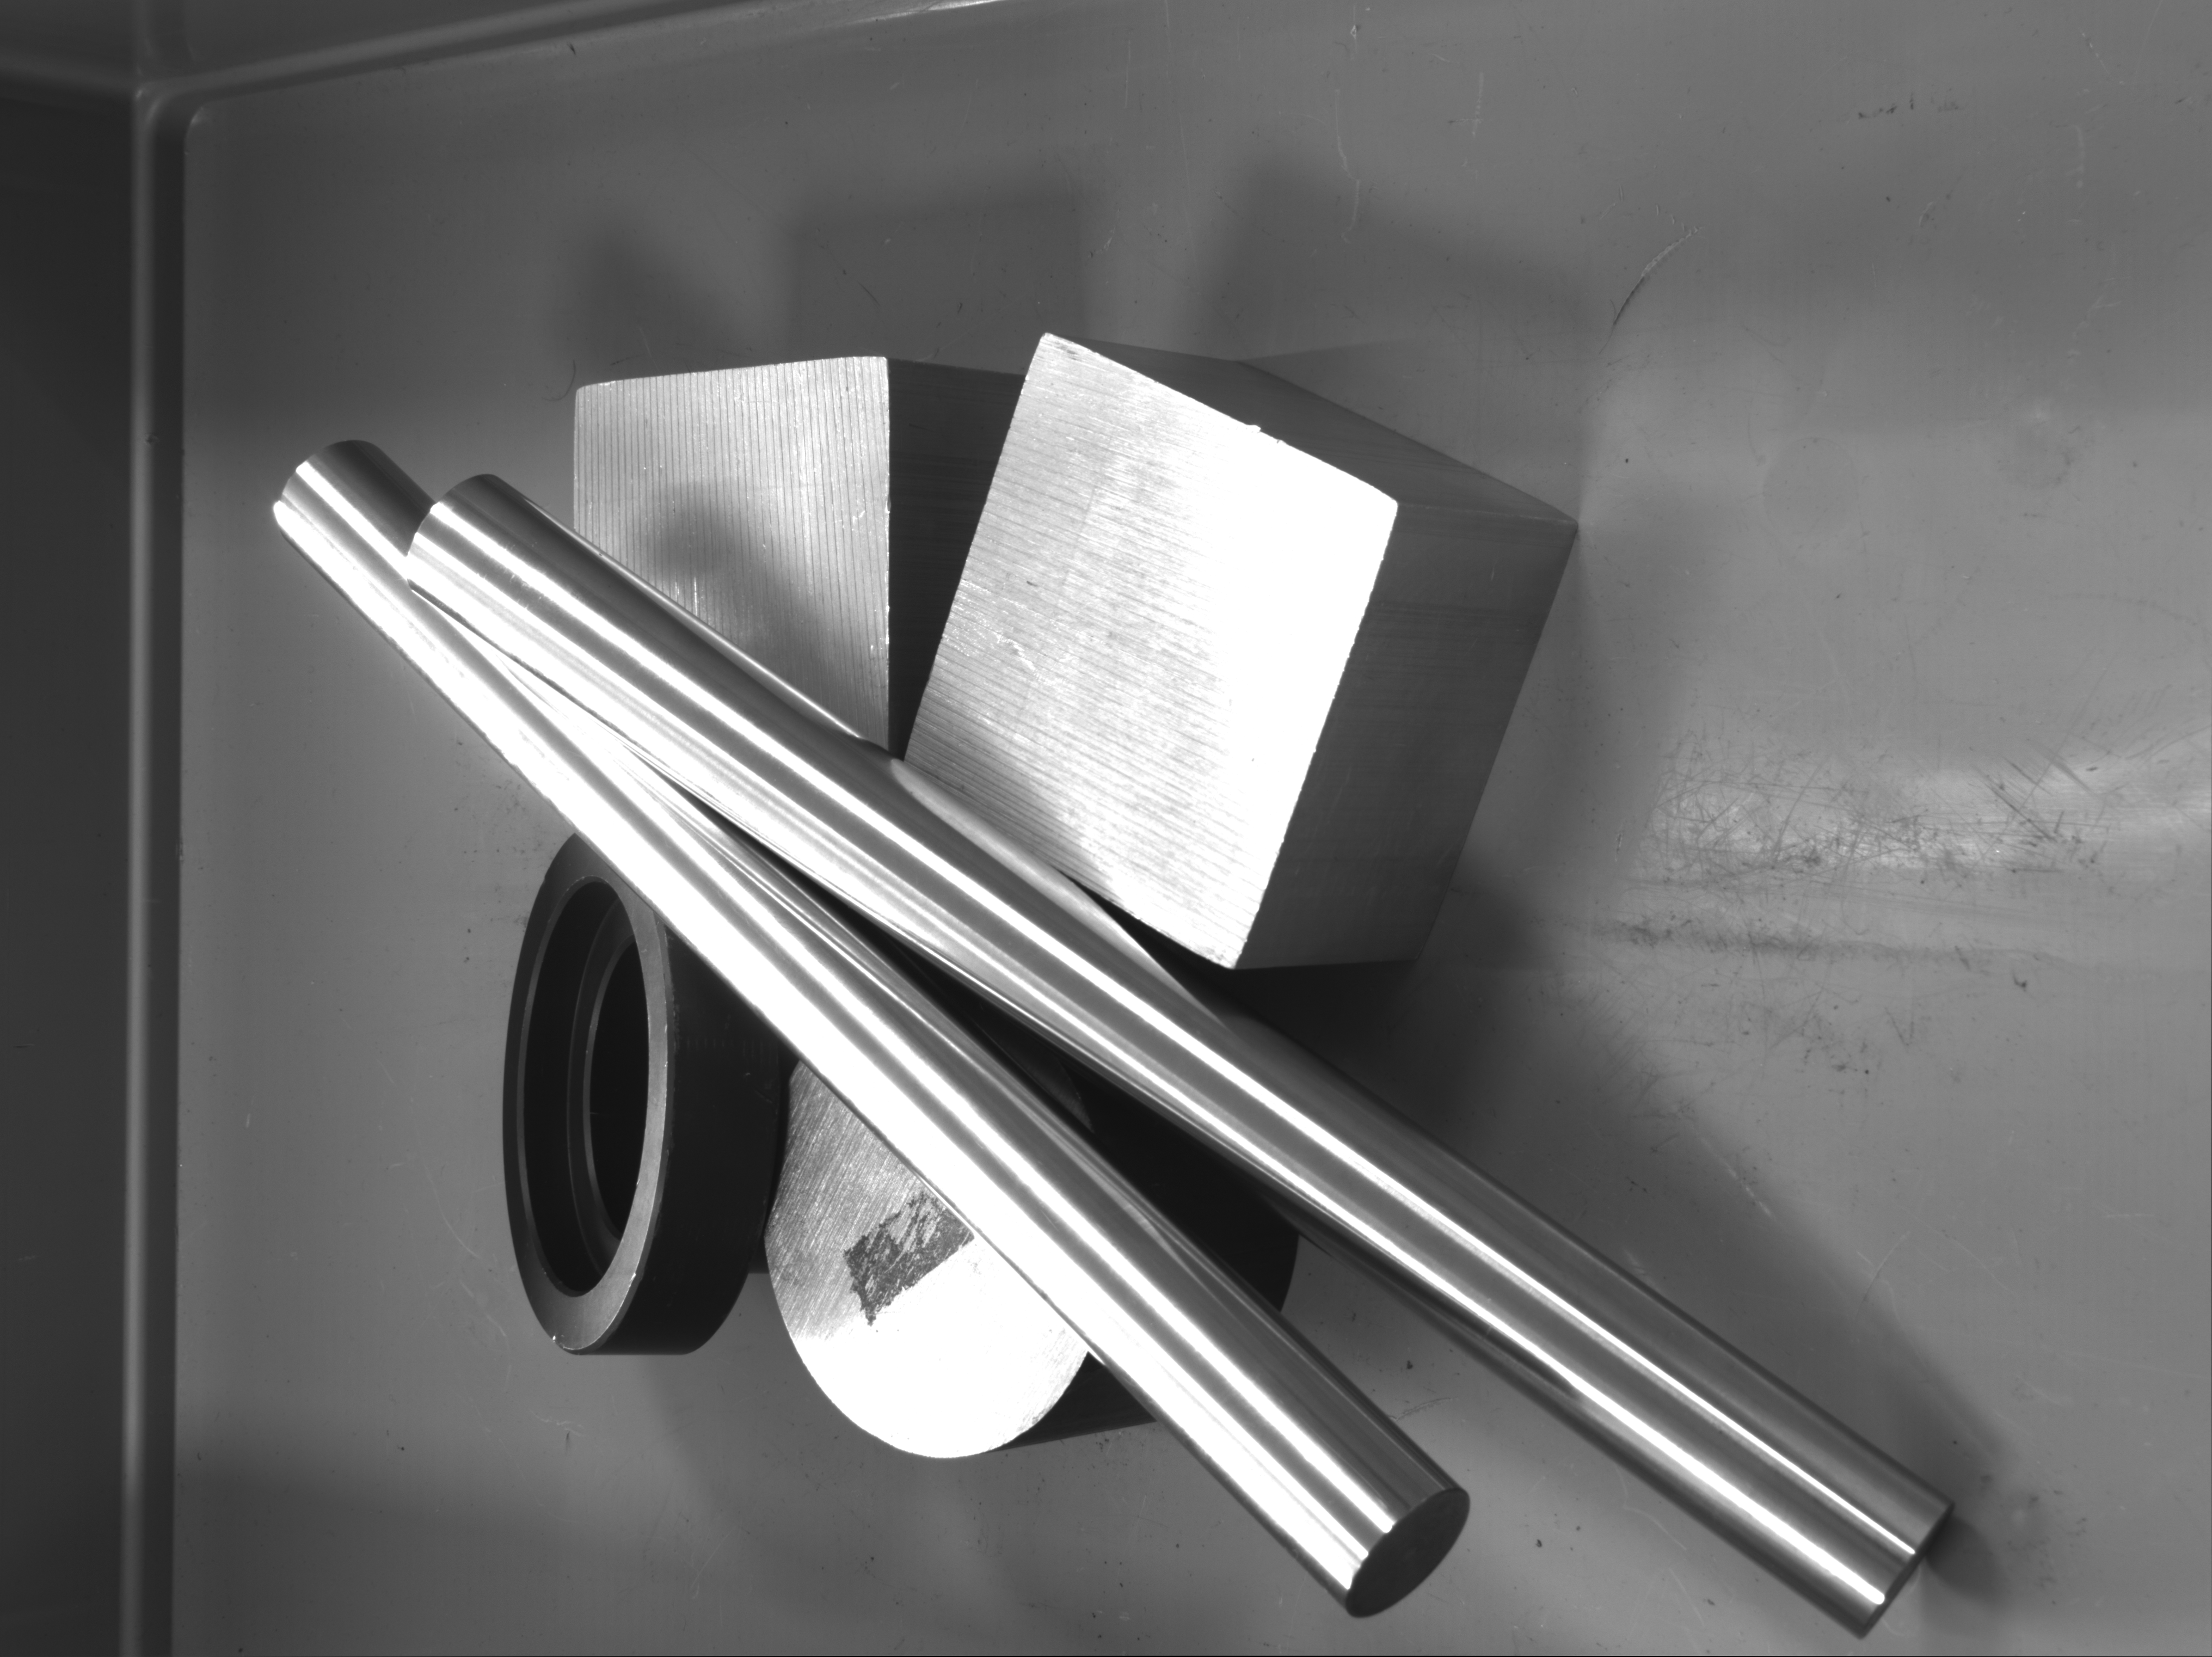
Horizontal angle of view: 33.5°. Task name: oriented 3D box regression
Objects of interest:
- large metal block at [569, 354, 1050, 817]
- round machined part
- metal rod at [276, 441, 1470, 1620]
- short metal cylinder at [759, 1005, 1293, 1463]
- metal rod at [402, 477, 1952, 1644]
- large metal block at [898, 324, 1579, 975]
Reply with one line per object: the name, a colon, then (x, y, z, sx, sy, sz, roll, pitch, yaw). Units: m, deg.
large metal block: (-0.052, -0.041, 0.667, 0.080, 0.050, 0.080, 1, 91, 40)
round machined part: (-0.078, 0.049, 0.683, 0.098, 0.042, 0.098, -14, 74, 63)
metal rod: (-0.051, 0.022, 0.620, 0.299, 0.025, 0.025, 42, 115, 31)
short metal cylinder: (-0.014, 0.067, 0.638, 0.080, 0.050, 0.080, 0, 90, 40)
metal rod: (0.002, 0.030, 0.593, 0.299, 0.025, 0.025, 35, 112, 19)
large metal block: (0.020, -0.030, 0.609, 0.080, 0.050, 0.080, 31, 109, 36)
